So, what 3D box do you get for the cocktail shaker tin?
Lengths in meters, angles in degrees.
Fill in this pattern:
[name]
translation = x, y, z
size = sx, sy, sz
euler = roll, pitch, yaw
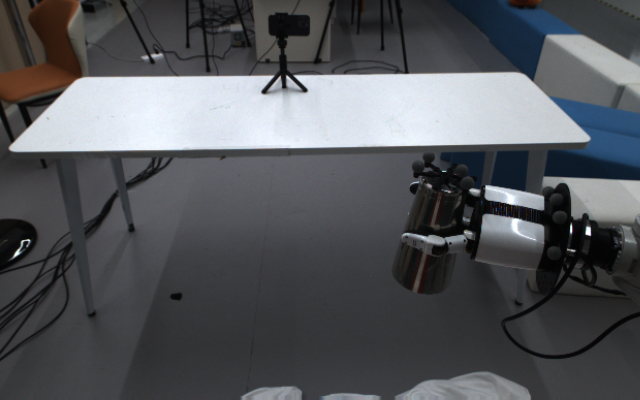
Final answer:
[cocktail shaker tin]
translation = 0.167, 0.044, 0.718
size = 0.093, 0.170, 0.093
euler = 4, 32, -2
